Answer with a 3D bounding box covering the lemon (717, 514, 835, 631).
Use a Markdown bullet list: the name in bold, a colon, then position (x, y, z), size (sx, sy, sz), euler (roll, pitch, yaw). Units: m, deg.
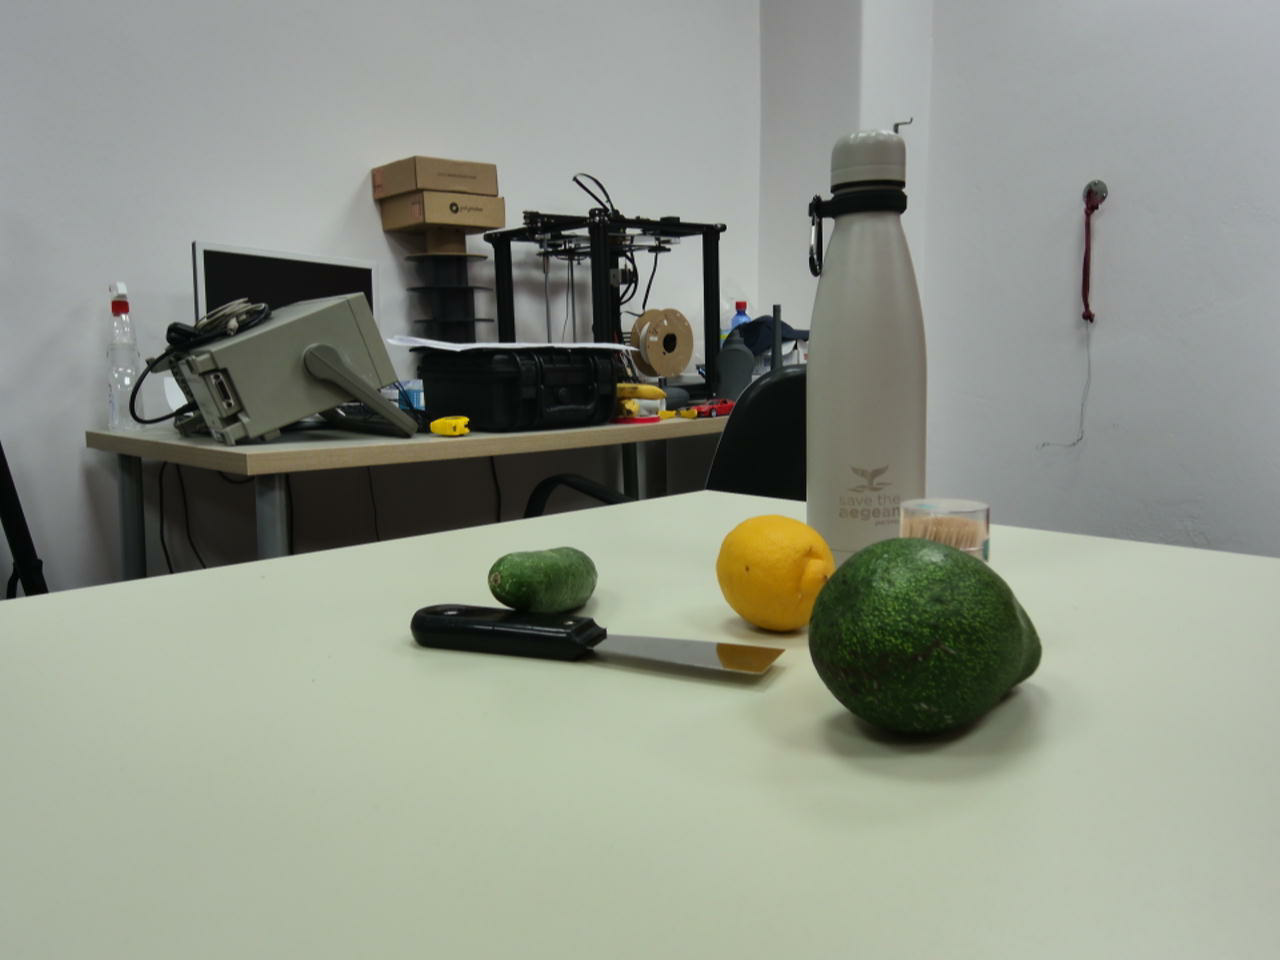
- **lemon**: position (0.072, 0.049, 0.533), size (0.061, 0.059, 0.067), euler (0, 5, 0)
